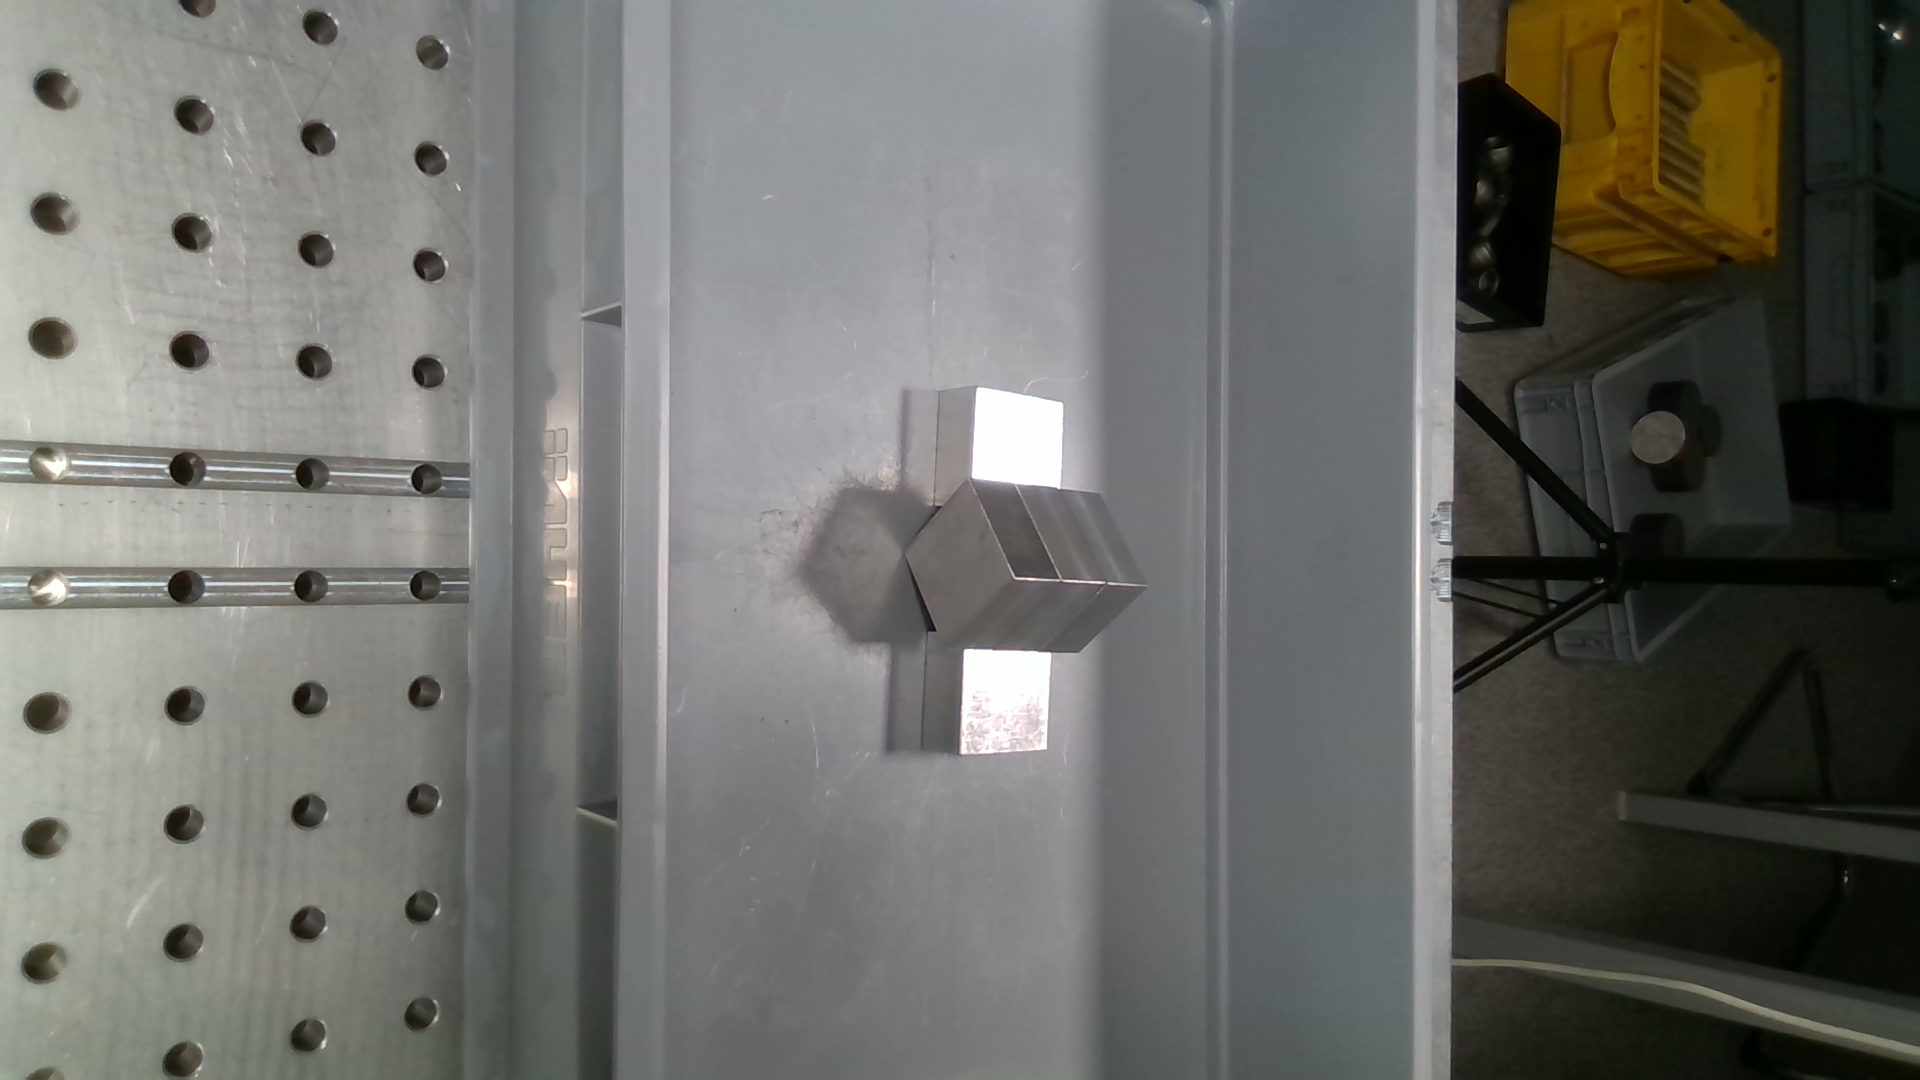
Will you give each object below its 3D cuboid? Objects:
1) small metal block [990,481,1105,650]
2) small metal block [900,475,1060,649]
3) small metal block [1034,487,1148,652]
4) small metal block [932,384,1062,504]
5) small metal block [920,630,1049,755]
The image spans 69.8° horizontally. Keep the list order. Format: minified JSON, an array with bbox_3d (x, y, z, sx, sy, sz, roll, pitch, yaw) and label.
[{"bbox_3d":[0.027,0.011,0.575,0.025,0.050,0.050,3,51,-41],"label":"small metal block"},{"bbox_3d":[0.007,0.010,0.558,0.025,0.050,0.050,3,51,-41],"label":"small metal block"},{"bbox_3d":[0.046,0.013,0.591,0.025,0.050,0.050,4,51,-41],"label":"small metal block"},{"bbox_3d":[0.016,-0.038,0.595,0.050,0.025,0.050,5,87,-40],"label":"small metal block"},{"bbox_3d":[0.011,0.065,0.592,0.050,0.025,0.050,4,88,-40],"label":"small metal block"}]
